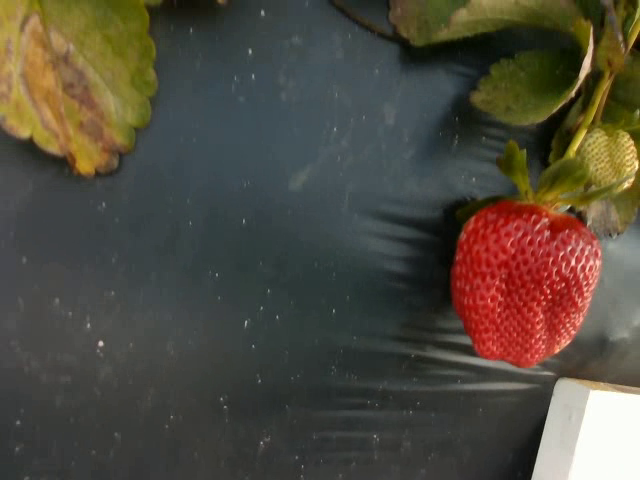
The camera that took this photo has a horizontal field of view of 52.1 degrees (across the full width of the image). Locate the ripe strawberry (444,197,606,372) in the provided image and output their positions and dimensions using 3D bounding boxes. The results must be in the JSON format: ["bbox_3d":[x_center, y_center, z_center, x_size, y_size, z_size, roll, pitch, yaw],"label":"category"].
[{"bbox_3d":[0.084,0.017,0.265,0.067,0.075,0.039,17,-3,-21],"label":"ripe strawberry"}]
